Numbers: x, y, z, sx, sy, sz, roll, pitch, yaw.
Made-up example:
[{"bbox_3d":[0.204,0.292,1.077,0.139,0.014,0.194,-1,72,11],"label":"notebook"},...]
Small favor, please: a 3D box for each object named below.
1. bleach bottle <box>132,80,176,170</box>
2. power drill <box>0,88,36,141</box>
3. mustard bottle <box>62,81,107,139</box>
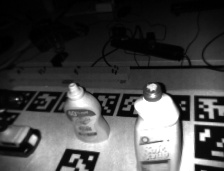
[{"bbox_3d":[0.078,0.087,0.441,0.101,0.253,0.068,7,46,24],"label":"bleach bottle"},{"bbox_3d":[-0.276,0.070,0.569,0.183,0.189,0.057,-6,41,17],"label":"power drill"},{"bbox_3d":[-0.079,0.064,0.565,0.096,0.193,0.058,-4,42,11],"label":"mustard bottle"}]
